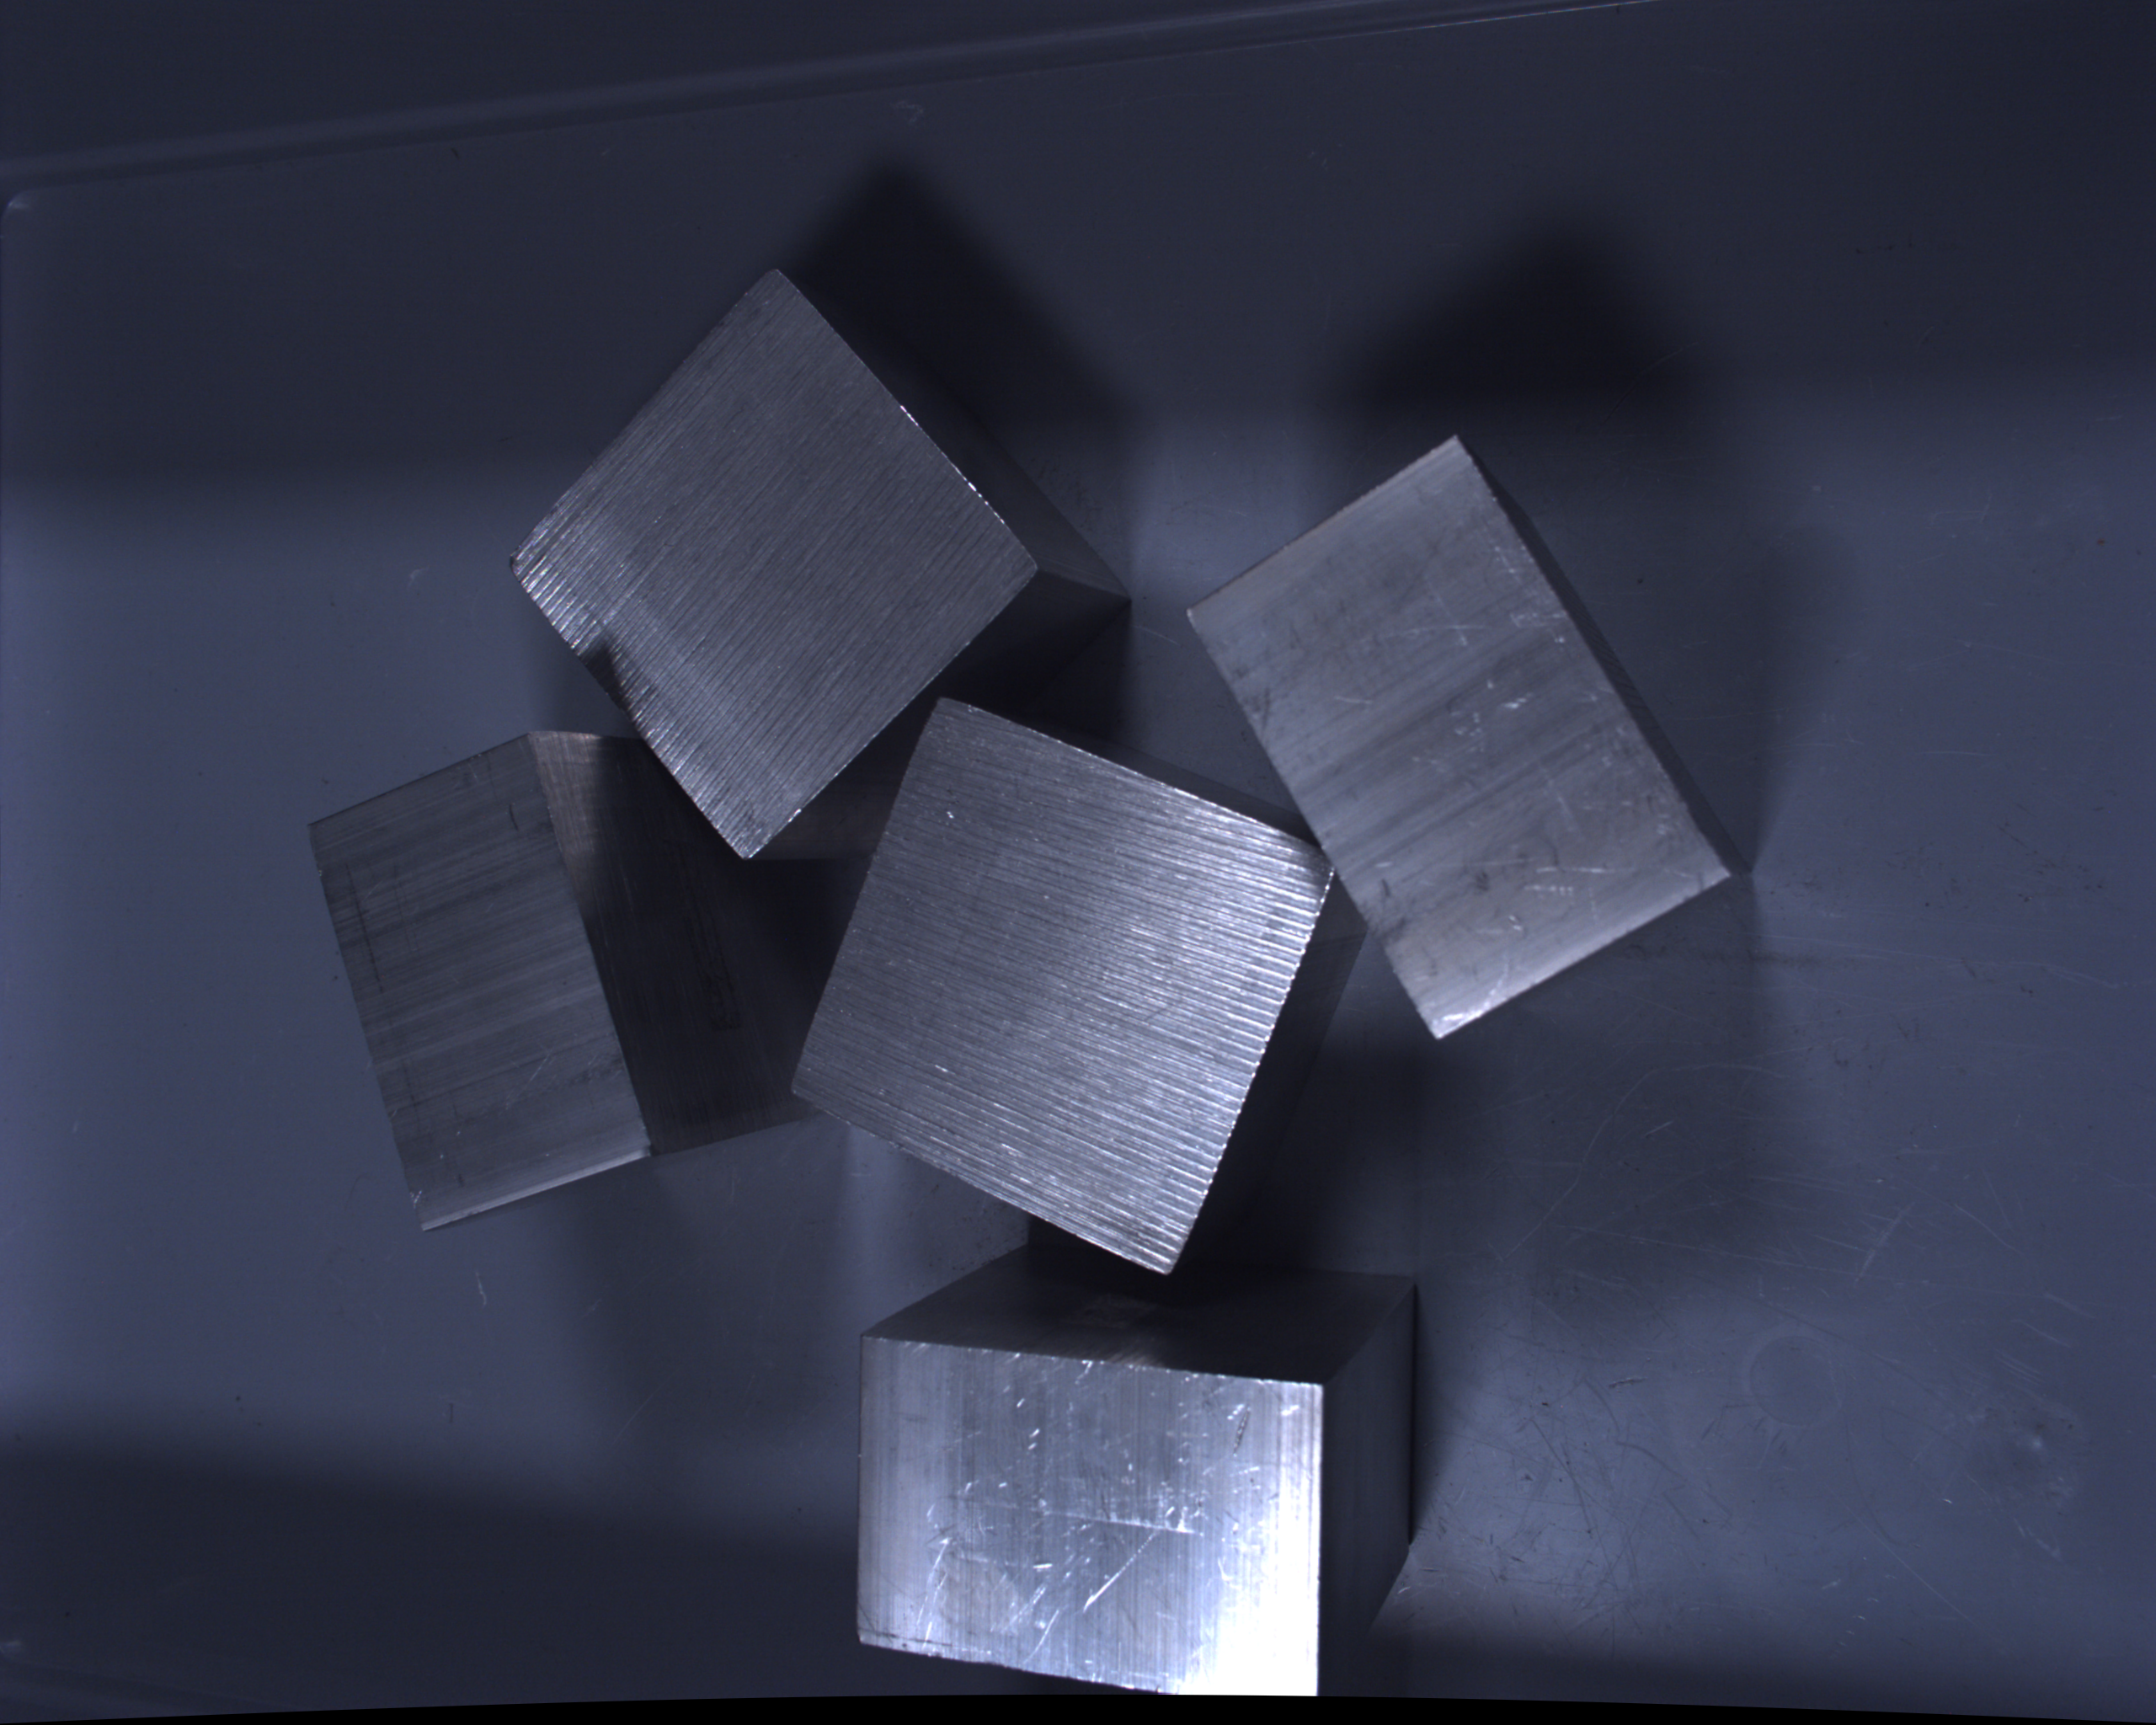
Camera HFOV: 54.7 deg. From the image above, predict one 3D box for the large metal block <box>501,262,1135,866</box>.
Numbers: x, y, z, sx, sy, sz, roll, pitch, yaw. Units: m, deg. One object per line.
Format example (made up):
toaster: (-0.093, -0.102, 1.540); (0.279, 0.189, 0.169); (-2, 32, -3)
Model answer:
large metal block: (-0.051, -0.056, 0.412); (0.080, 0.050, 0.080); (-44, 77, 14)

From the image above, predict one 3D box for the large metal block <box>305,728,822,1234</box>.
large metal block: (-0.095, 0.021, 0.412); (0.050, 0.080, 0.080); (-20, 84, 19)

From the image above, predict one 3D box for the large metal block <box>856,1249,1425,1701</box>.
large metal block: (0.015, 0.105, 0.375); (0.080, 0.080, 0.050); (1, 91, 19)

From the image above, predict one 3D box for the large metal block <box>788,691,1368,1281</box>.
large metal block: (0.004, 0.021, 0.394); (0.080, 0.050, 0.080); (24, 98, 18)

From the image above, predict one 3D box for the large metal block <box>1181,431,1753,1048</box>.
large metal block: (0.070, -0.019, 0.354); (0.050, 0.080, 0.080); (-32, 80, 17)
